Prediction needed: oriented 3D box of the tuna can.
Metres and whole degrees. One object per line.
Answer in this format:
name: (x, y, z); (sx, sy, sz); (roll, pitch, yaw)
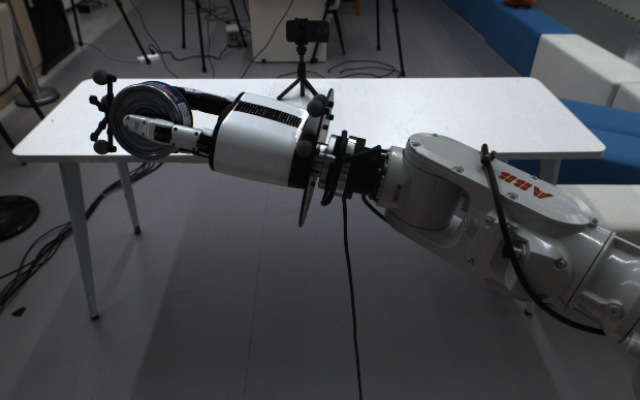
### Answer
tuna can: (-0.187, -0.086, 0.543); (0.085, 0.085, 0.034); (4, 19, 3)
